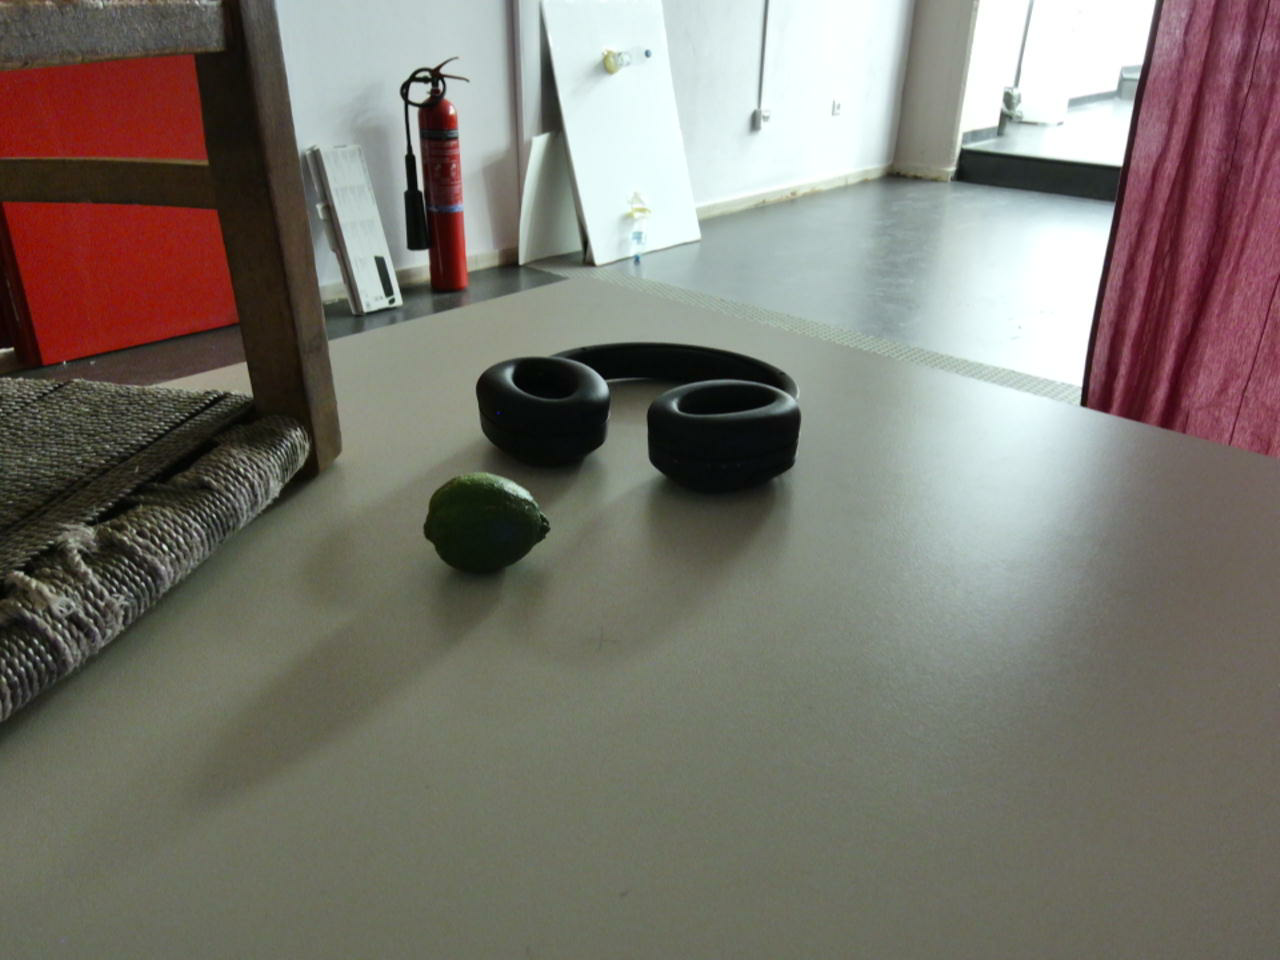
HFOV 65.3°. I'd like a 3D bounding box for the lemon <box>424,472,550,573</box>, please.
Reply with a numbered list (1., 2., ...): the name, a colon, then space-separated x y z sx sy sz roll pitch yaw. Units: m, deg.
1. lemon: -0.081 0.021 0.508 0.054 0.051 0.057 17 29 33
